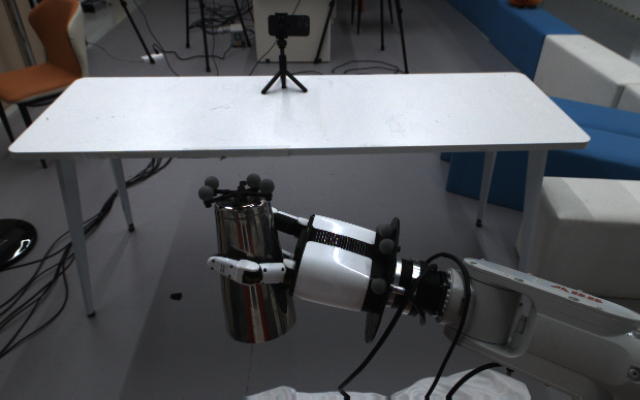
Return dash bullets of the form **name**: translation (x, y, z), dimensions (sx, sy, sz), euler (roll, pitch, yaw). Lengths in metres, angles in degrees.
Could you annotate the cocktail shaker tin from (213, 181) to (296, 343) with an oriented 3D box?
- **cocktail shaker tin**: translation (-0.084, 0.080, 0.602), dimensions (0.093, 0.170, 0.093), euler (-6, 19, 2)
